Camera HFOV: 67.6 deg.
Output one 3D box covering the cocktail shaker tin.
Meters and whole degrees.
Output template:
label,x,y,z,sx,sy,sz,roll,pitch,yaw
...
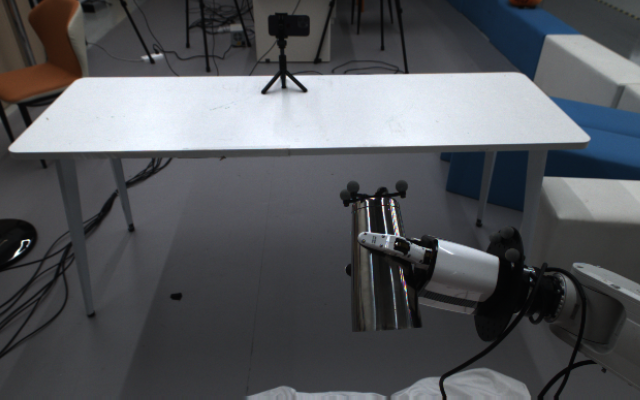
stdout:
label,x,y,z,sx,sy,sz,roll,pitch,yaw
cocktail shaker tin,0.083,0.087,0.654,0.093,0.093,0.170,-3,77,-8
